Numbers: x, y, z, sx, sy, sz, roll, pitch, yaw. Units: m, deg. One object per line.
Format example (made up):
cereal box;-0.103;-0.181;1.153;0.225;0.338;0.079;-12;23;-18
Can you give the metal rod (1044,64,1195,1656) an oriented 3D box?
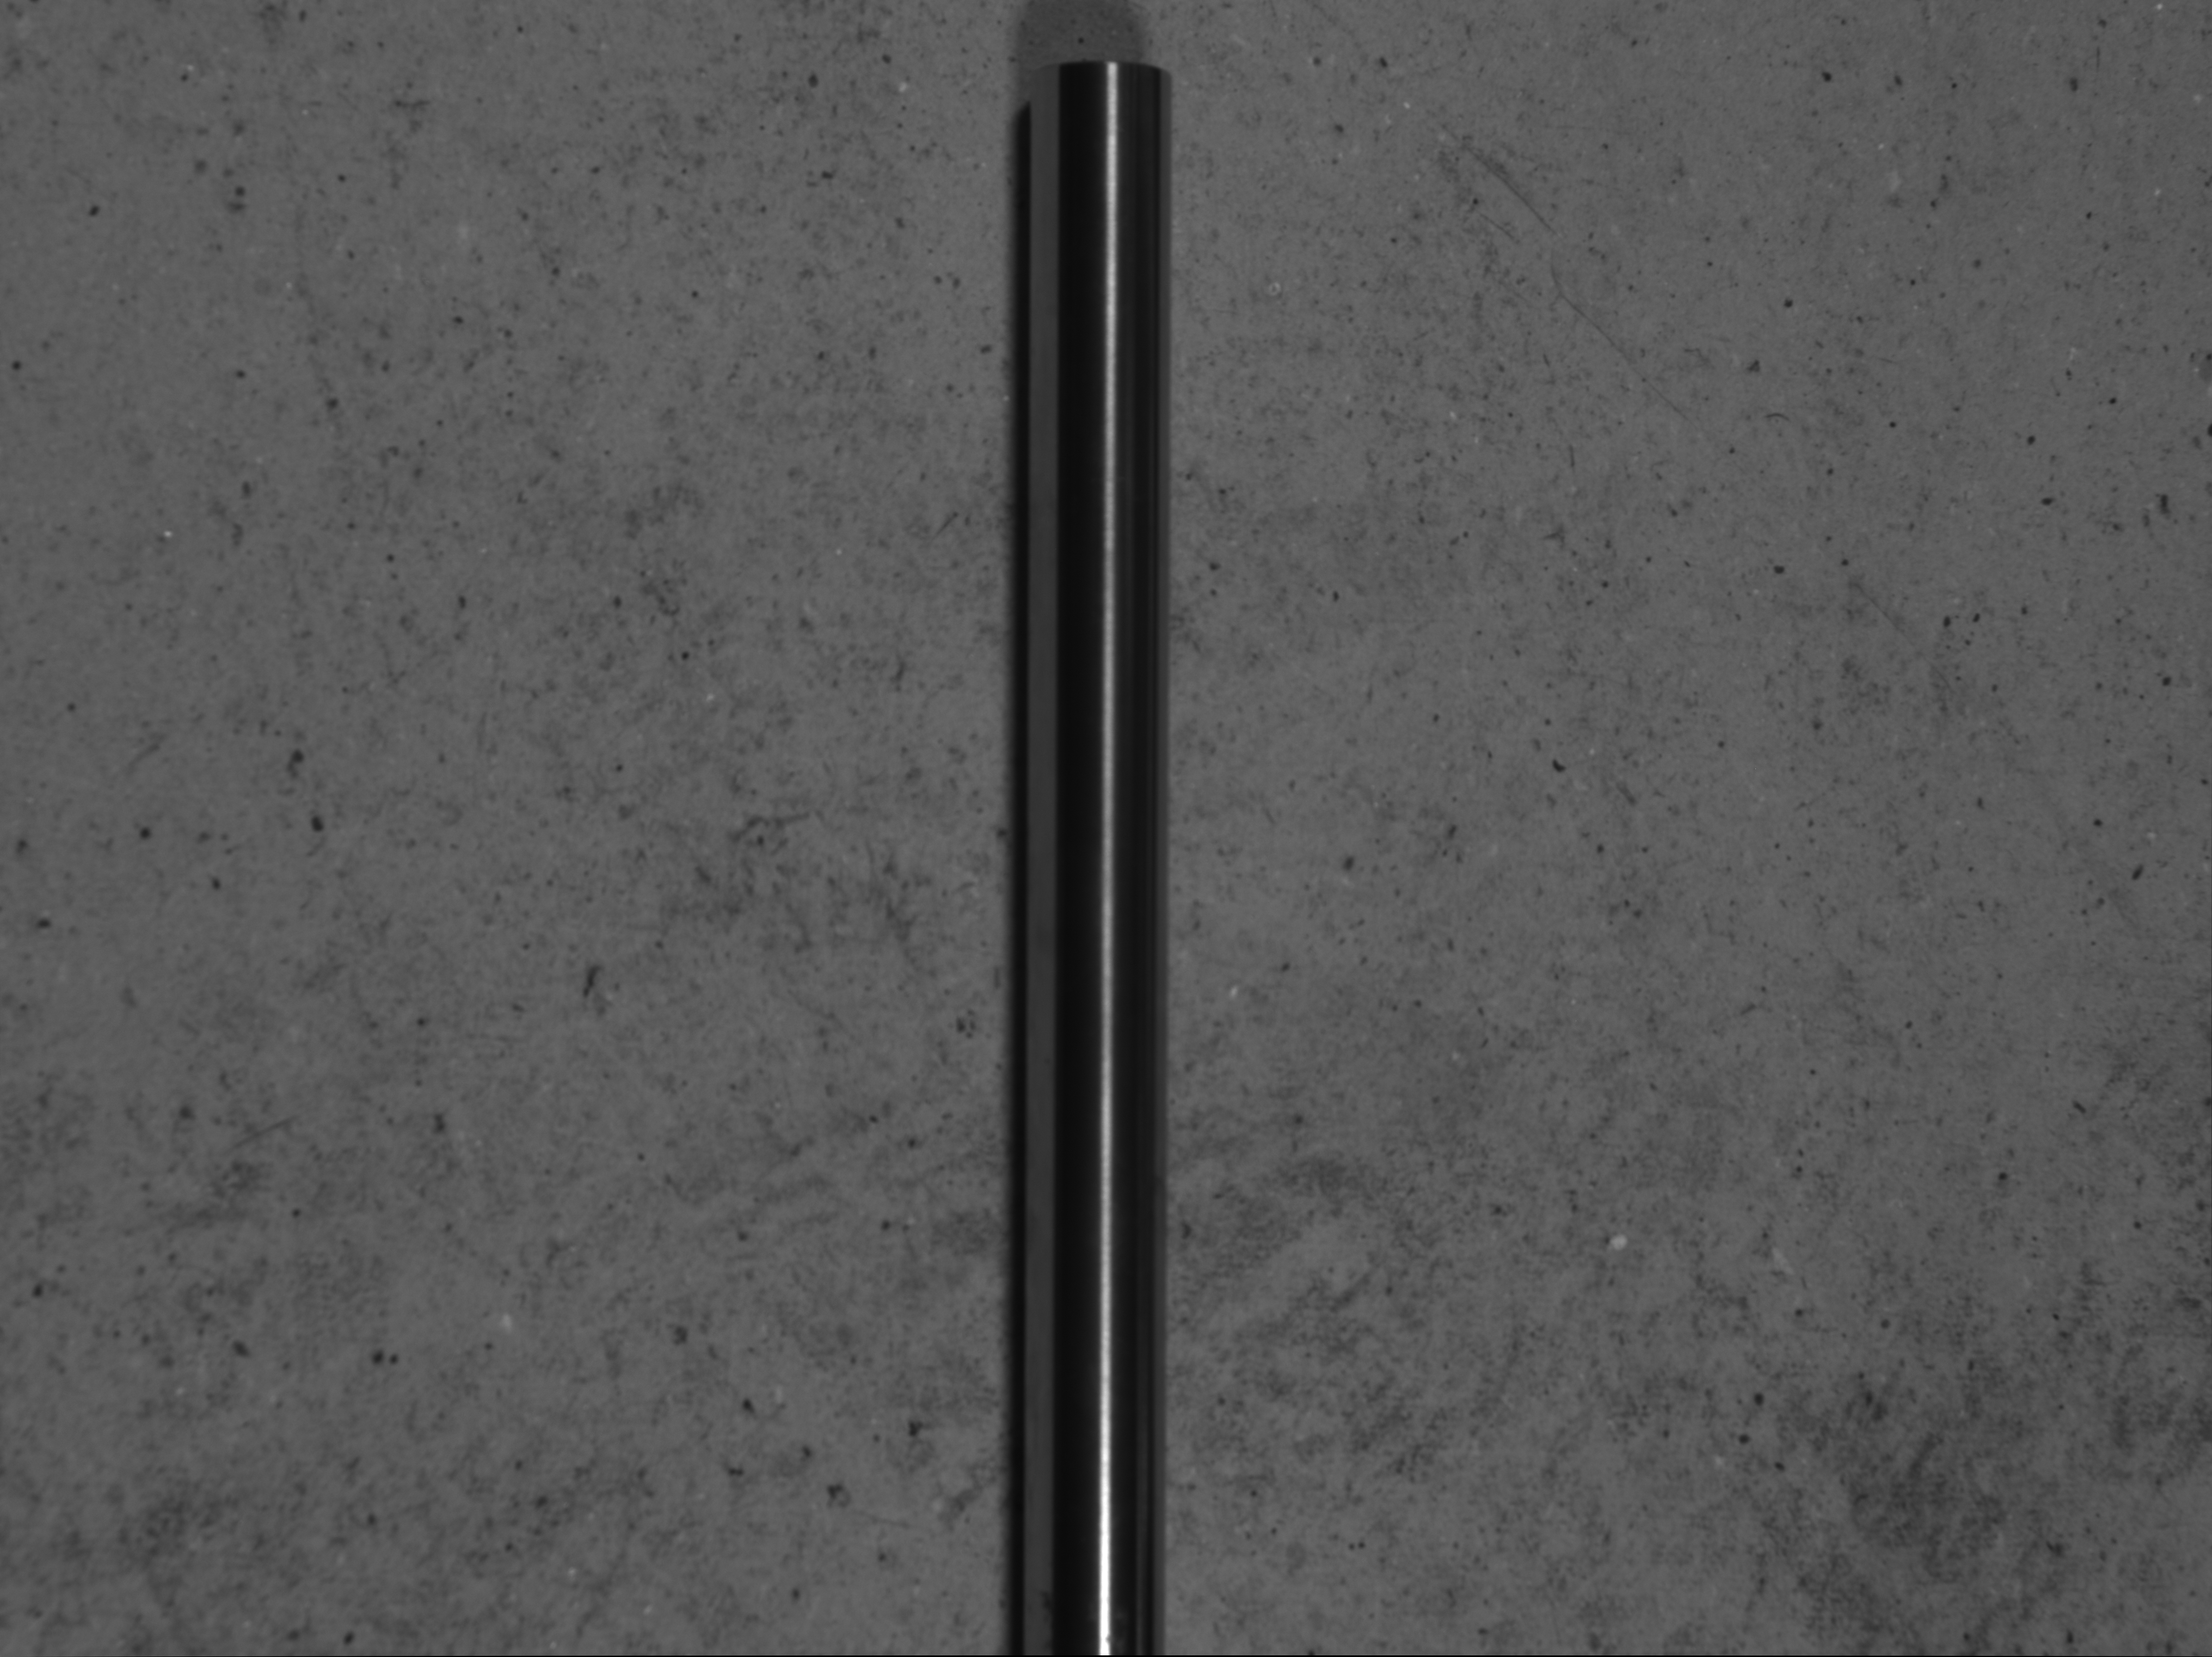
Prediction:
metal rod;0.002;0.018;0.644;0.025;0.025;0.300;0;90;-20
